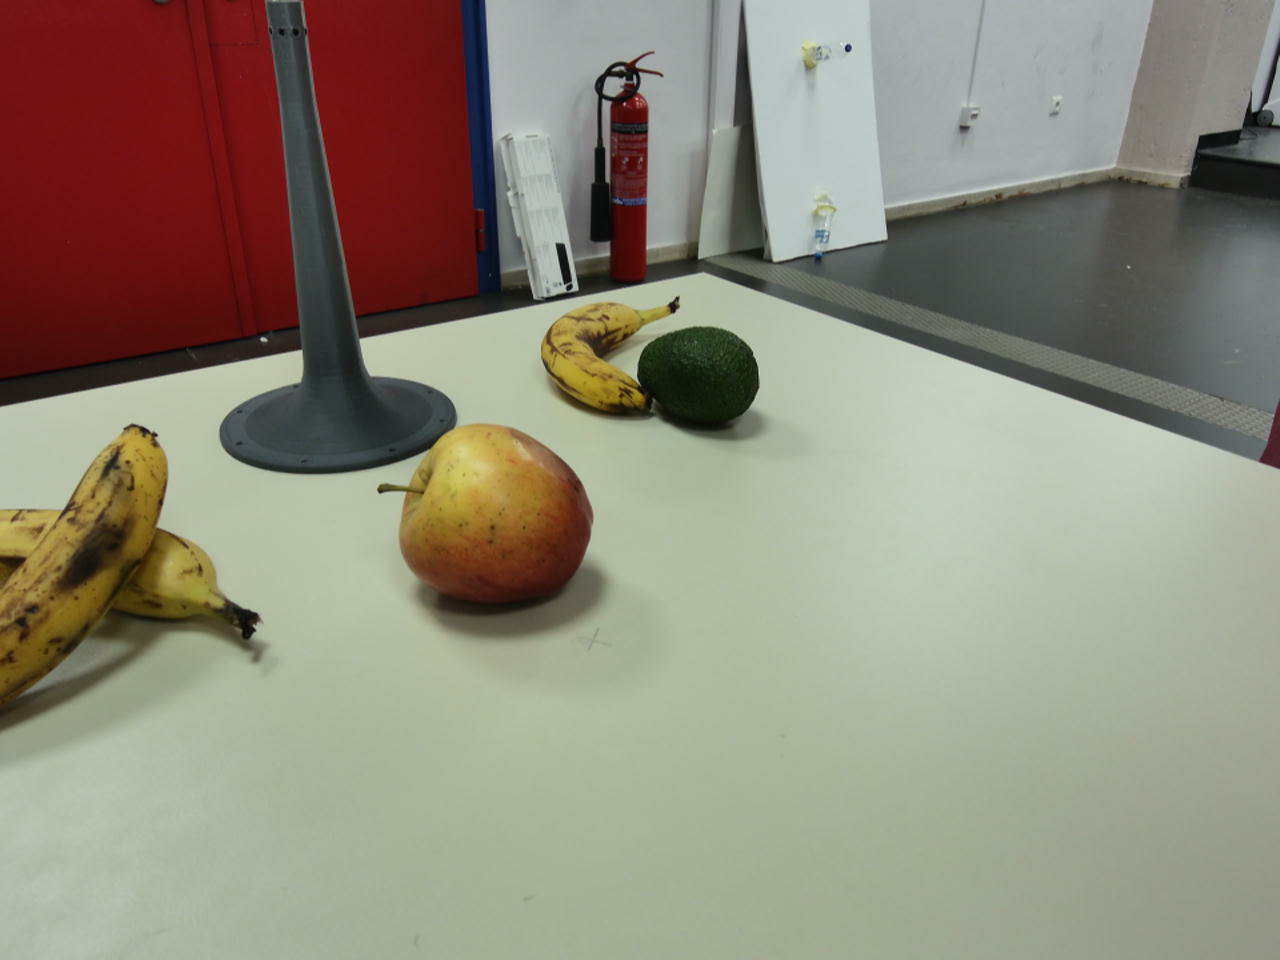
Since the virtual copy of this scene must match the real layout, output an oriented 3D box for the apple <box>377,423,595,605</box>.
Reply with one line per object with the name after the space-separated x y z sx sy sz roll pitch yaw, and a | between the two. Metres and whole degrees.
-0.070 0.016 0.475 0.093 0.084 0.086 9 26 15 | apple
